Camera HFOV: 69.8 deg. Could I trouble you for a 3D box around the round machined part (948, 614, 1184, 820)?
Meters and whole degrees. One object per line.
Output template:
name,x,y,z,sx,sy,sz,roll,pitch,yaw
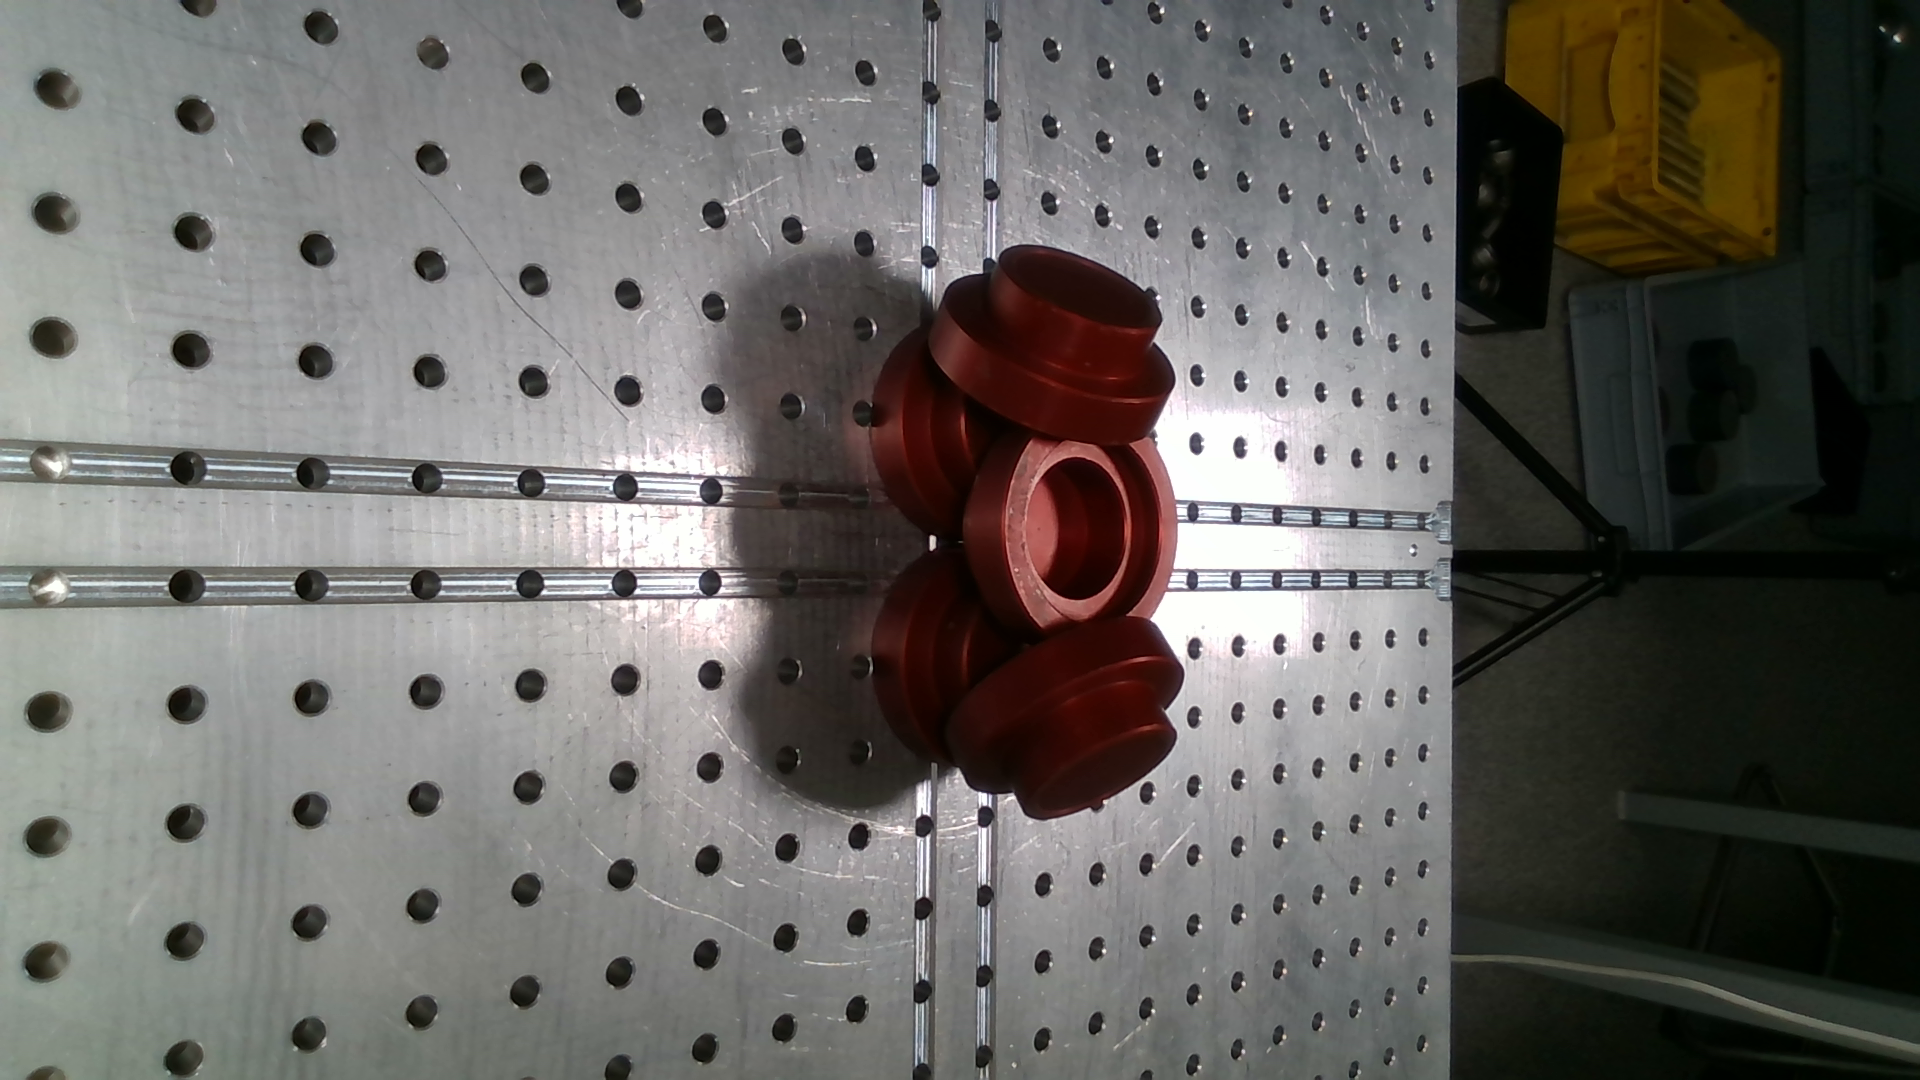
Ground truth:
round machined part,0.047,0.076,0.548,0.098,0.098,0.042,0,49,-40

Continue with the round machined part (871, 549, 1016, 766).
round machined part,0.014,0.050,0.586,0.098,0.042,0.098,0,90,-40

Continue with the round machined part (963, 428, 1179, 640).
round machined part,0.040,-0.004,0.553,0.098,0.042,0.098,0,90,-40

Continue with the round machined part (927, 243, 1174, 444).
round machined part,0.040,-0.082,0.542,0.098,0.098,0.042,-7,132,-40

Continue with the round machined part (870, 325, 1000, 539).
round machined part,0.013,-0.048,0.586,0.098,0.042,0.098,0,90,-40
